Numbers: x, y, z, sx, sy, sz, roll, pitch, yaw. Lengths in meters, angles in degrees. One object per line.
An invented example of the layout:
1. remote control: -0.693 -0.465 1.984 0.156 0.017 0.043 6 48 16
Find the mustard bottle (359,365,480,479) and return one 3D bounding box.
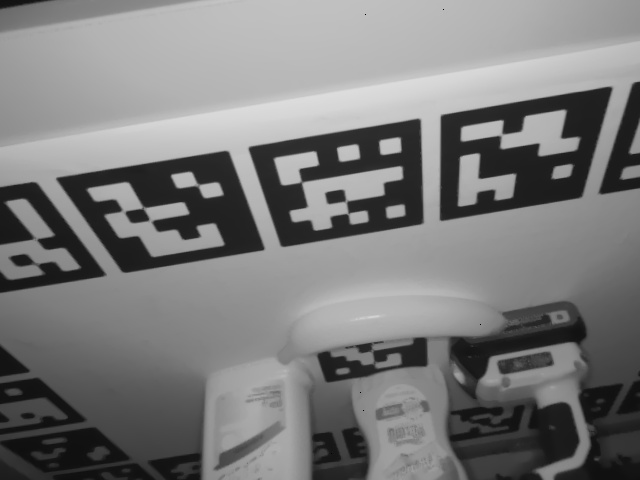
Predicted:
1. mustard bottle: 0.091 0.207 0.614 0.096 0.193 0.058 -7 138 2

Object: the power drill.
1. power drill: 0.185 0.166 0.555 0.184 0.188 0.057 -8 144 6

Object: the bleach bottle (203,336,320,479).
1. bleach bottle: -0.044 0.203 0.560 0.102 0.252 0.067 -14 136 8

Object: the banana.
1. banana: 0.062 0.059 0.559 0.198 0.039 0.073 -8 134 -2
